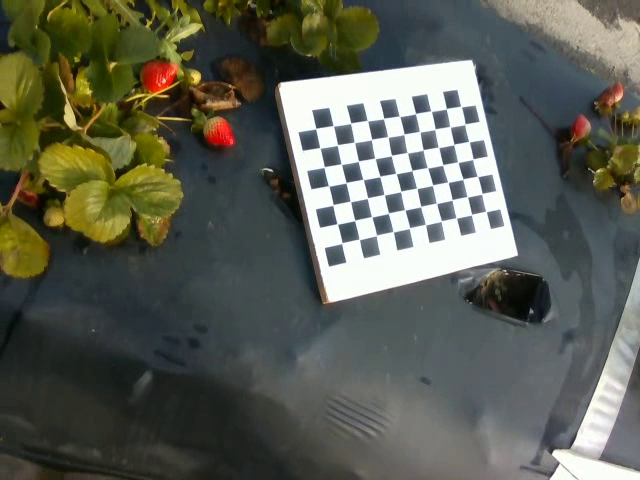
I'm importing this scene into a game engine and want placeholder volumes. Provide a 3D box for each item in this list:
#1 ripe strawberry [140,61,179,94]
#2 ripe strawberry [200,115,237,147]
[{"bbox_3d":[-0.179,-0.185,0.725,0.048,0.040,0.031,-25,2,20],"label":"ripe strawberry"},{"bbox_3d":[-0.115,-0.123,0.744,0.043,0.035,0.029,41,-20,-7],"label":"ripe strawberry"}]
